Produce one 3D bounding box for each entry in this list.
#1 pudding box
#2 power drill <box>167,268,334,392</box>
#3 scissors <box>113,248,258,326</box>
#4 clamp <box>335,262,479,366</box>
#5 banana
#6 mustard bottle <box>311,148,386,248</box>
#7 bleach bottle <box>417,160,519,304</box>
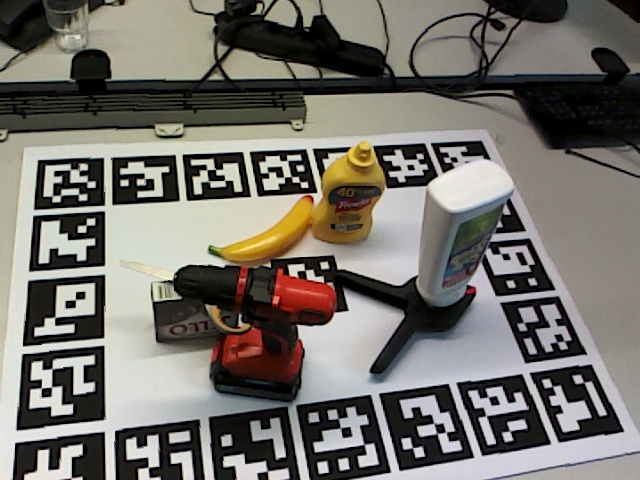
[{"bbox_3d":[-0.168,0.090,0.832,0.113,0.090,0.039,-1,47,-11],"label":"pudding box"},{"bbox_3d":[-0.084,0.106,0.736,0.184,0.186,0.057,5,46,-3],"label":"power drill"},{"bbox_3d":[-0.169,0.046,0.784,0.203,0.016,0.088,18,56,-1],"label":"scissors"},{"bbox_3d":[0.140,0.088,0.900,0.202,0.036,0.166,-9,57,-18],"label":"clamp"},{"bbox_3d":[-0.070,-0.029,0.965,0.075,0.039,0.197,26,52,31],"label":"banana"},{"bbox_3d":[0.047,-0.065,0.929,0.096,0.191,0.058,8,52,-5],"label":"mustard bottle"},{"bbox_3d":[0.186,0.011,0.835,0.102,0.250,0.068,-24,57,-17],"label":"bleach bottle"}]
